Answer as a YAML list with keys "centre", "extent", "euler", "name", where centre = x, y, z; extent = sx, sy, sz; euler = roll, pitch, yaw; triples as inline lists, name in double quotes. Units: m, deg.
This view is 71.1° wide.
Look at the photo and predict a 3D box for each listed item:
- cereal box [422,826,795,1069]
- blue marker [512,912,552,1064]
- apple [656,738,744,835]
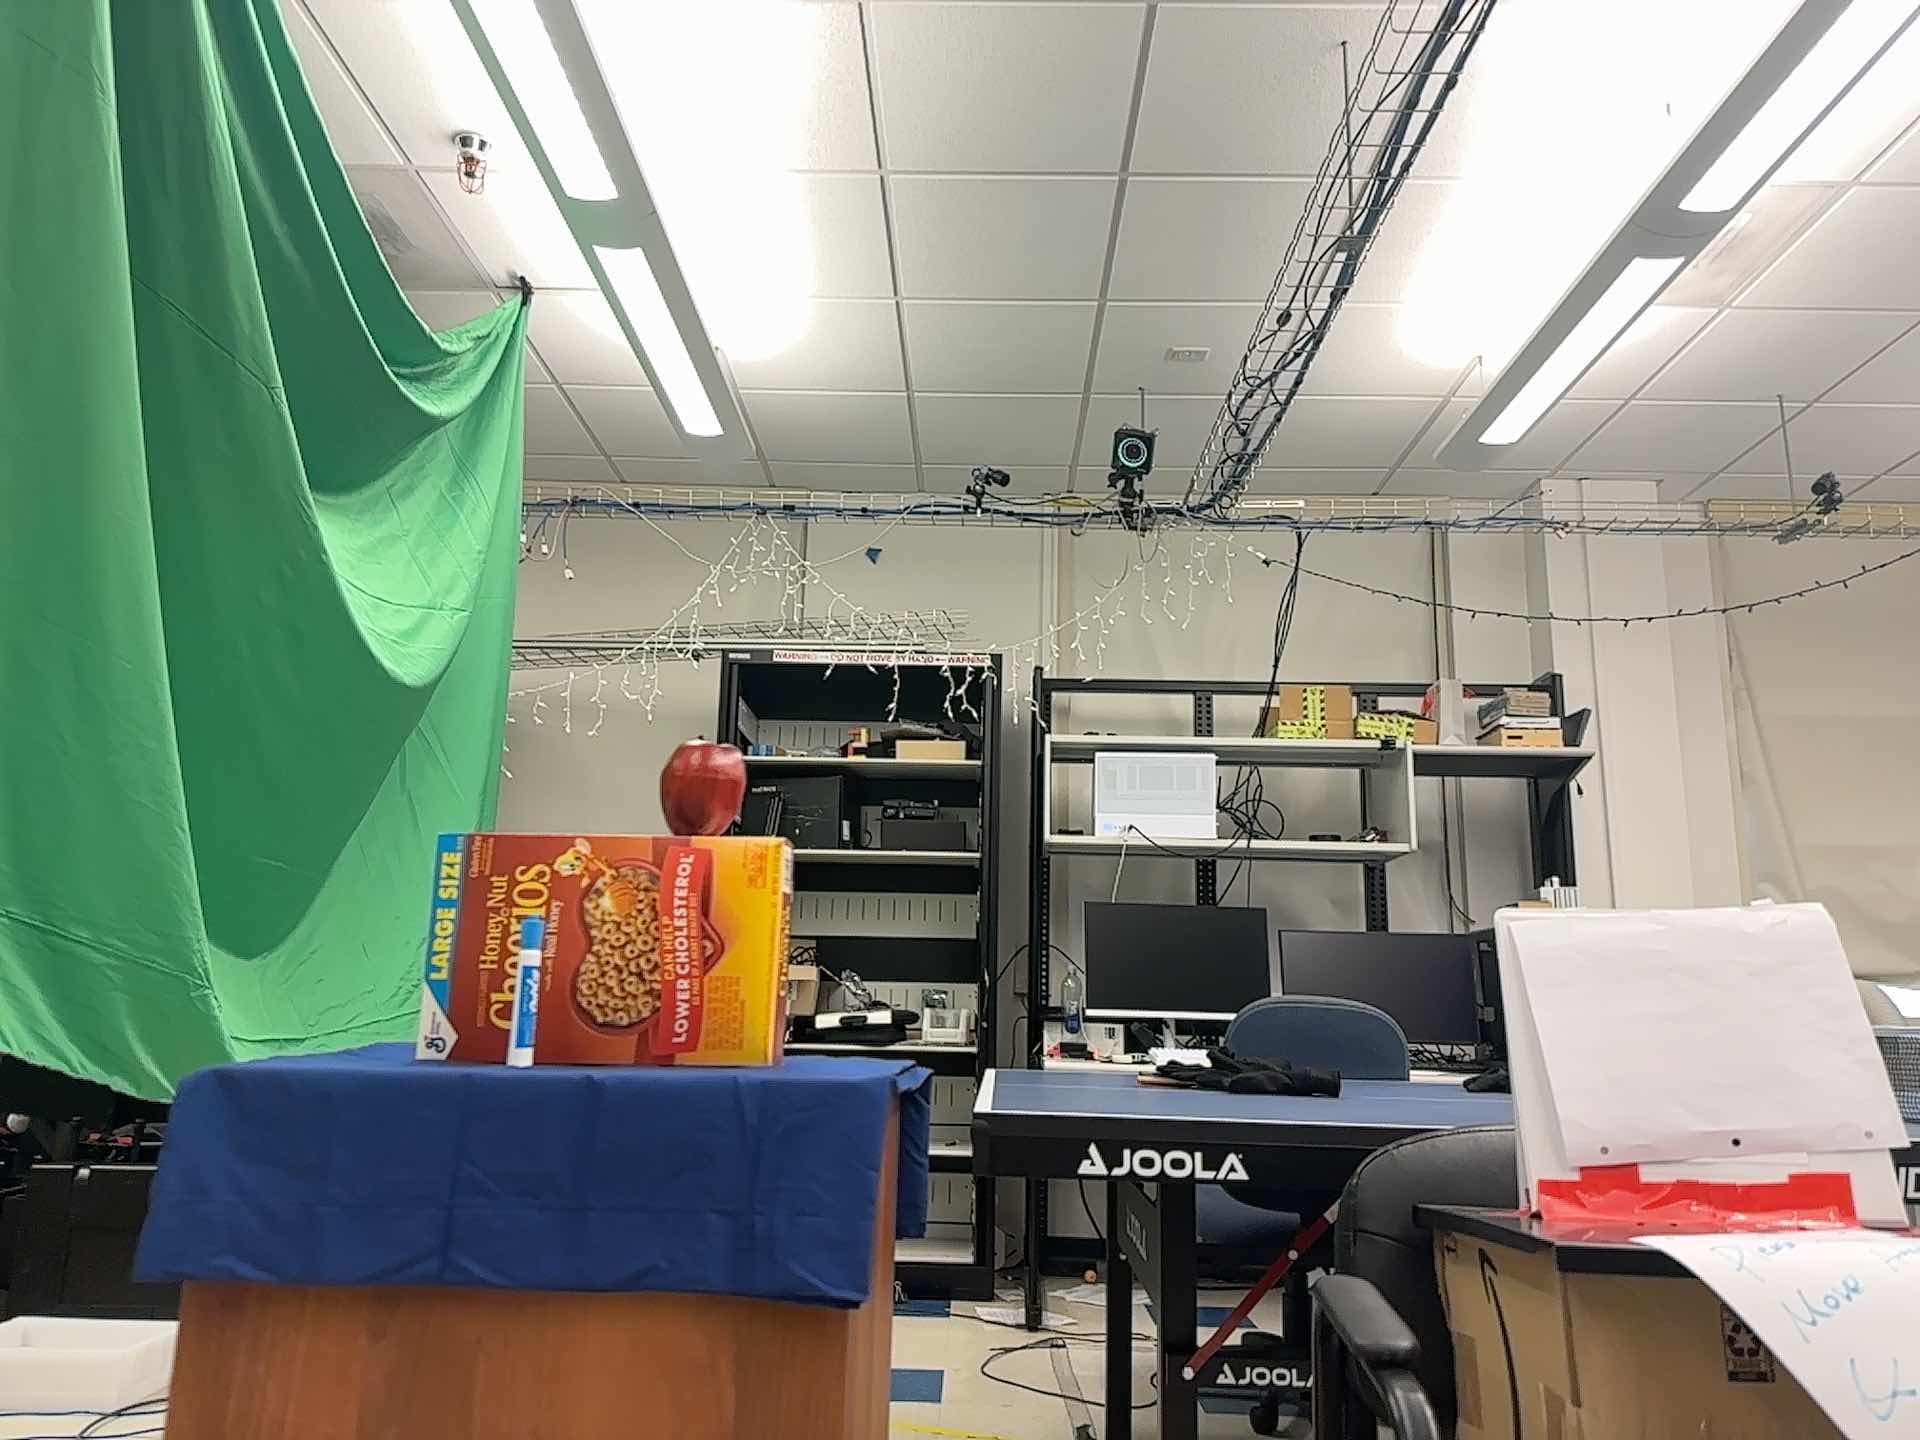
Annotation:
- centre: [-0.308, 0.202, 1.196]
  extent: [0.297, 0.195, 0.065]
  euler: [2, -15, 1]
  name: "cereal box"
- centre: [-0.350, 0.218, 1.100]
  extent: [0.020, 0.121, 0.020]
  euler: [1, -15, 0]
  name: "blue marker"
- centre: [-0.238, 0.062, 1.229]
  extent: [0.079, 0.093, 0.079]
  euler: [3, -13, 1]
  name: "apple"
